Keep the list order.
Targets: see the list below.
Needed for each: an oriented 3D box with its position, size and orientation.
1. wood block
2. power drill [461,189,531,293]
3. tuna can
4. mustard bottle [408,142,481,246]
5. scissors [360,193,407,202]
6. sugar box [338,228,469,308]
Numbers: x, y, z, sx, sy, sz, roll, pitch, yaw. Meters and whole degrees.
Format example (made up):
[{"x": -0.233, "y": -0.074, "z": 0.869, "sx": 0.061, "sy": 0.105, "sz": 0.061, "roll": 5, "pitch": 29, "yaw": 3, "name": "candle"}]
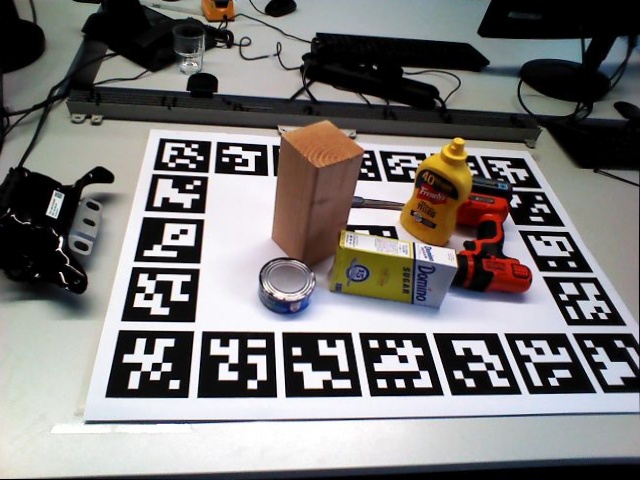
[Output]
[{"x": -0.002, "y": -0.066, "z": 0.790, "sx": 0.090, "sy": 0.207, "sz": 0.090, "roll": -21, "pitch": 55, "yaw": -27, "name": "wood block"}, {"x": 0.255, "y": -0.004, "z": 0.864, "sx": 0.185, "sy": 0.057, "sz": 0.185, "roll": 11, "pitch": 53, "yaw": 2, "name": "power drill"}, {"x": -0.044, "y": 0.061, "z": 0.765, "sx": 0.086, "sy": 0.034, "sz": 0.085, "roll": 5, "pitch": 47, "yaw": -6, "name": "tuna can"}, {"x": 0.211, "y": -0.082, "z": 0.850, "sx": 0.058, "sy": 0.192, "sz": 0.096, "roll": -33, "pitch": 61, "yaw": -32, "name": "mustard bottle"}, {"x": 0.059, "y": -0.078, "z": 0.930, "sx": 0.203, "sy": 0.016, "sz": 0.087, "roll": 3, "pitch": 43, "yaw": -6, "name": "scissors"}, {"x": 0.122, "y": 0.044, "z": 0.775, "sx": 0.177, "sy": 0.093, "sz": 0.045, "roll": 12, "pitch": 43, "yaw": -1, "name": "sugar box"}]
